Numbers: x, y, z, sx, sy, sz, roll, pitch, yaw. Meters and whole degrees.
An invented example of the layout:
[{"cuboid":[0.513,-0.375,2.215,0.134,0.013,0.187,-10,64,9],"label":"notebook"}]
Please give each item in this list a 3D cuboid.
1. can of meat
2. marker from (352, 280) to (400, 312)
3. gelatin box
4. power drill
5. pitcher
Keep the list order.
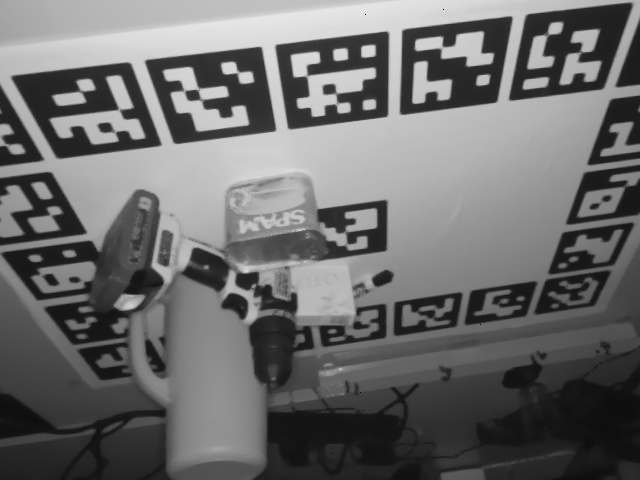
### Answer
[{"cuboid":[-0.047,-0.021,0.732,0.102,0.084,0.057,-8,141,0],"label":"can of meat"},{"cuboid":[0.051,0.084,0.920,0.120,0.020,0.020,-27,135,18],"label":"marker"},{"cuboid":[-0.005,0.074,0.861,0.090,0.074,0.030,1,134,-8],"label":"gelatin box"},{"cuboid":[-0.104,0.065,0.748,0.189,0.186,0.056,21,129,-22],"label":"power drill"},{"cuboid":[-0.140,0.155,0.809,0.191,0.243,0.131,11,133,-30],"label":"pitcher"}]
